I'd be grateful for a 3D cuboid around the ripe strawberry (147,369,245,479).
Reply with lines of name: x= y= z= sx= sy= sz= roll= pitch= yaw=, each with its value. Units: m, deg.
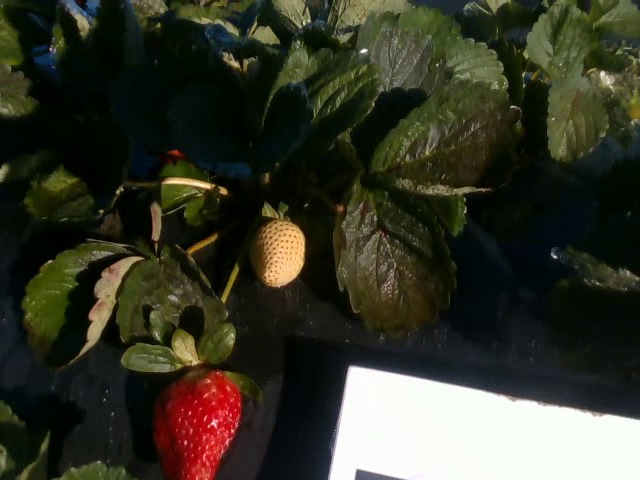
ripe strawberry: x=-0.056 y=0.089 z=0.268 sx=0.048 sy=0.069 sz=0.040 roll=-9 pitch=-26 yaw=5
